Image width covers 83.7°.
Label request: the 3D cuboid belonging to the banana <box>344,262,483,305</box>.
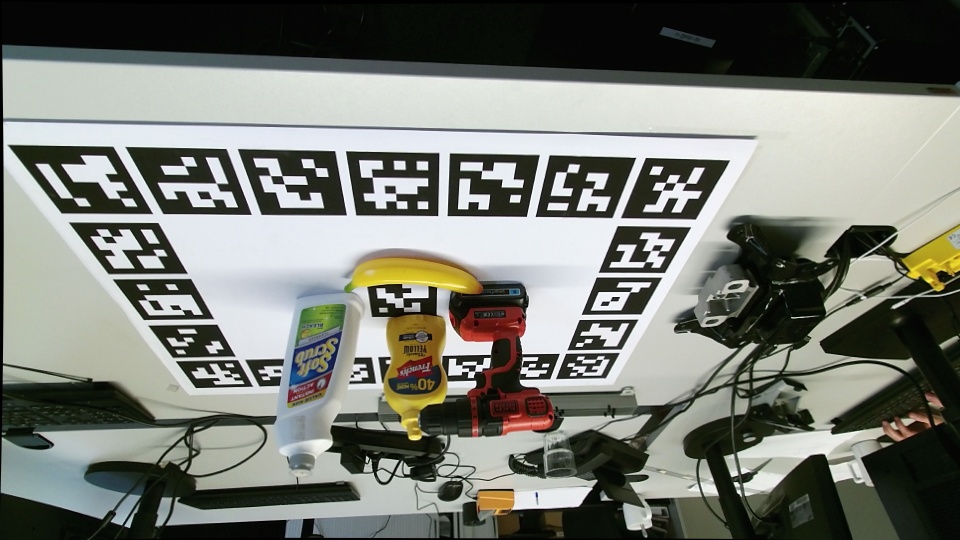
[{"bbox_3d":[-0.091,0.021,0.753,0.198,0.038,0.074,1,135,-9],"label":"banana"}]

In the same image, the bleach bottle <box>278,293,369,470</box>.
[{"bbox_3d":[-0.217,0.149,0.744,0.103,0.249,0.068,-6,138,1],"label":"bleach bottle"}]

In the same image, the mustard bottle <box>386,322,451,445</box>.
[{"bbox_3d":[-0.093,0.171,0.814,0.096,0.190,0.058,1,139,-5],"label":"mustard bottle"}]

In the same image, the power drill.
[{"bbox_3d":[0.015,0.145,0.766,0.185,0.186,0.057,0,146,-1],"label":"power drill"}]
